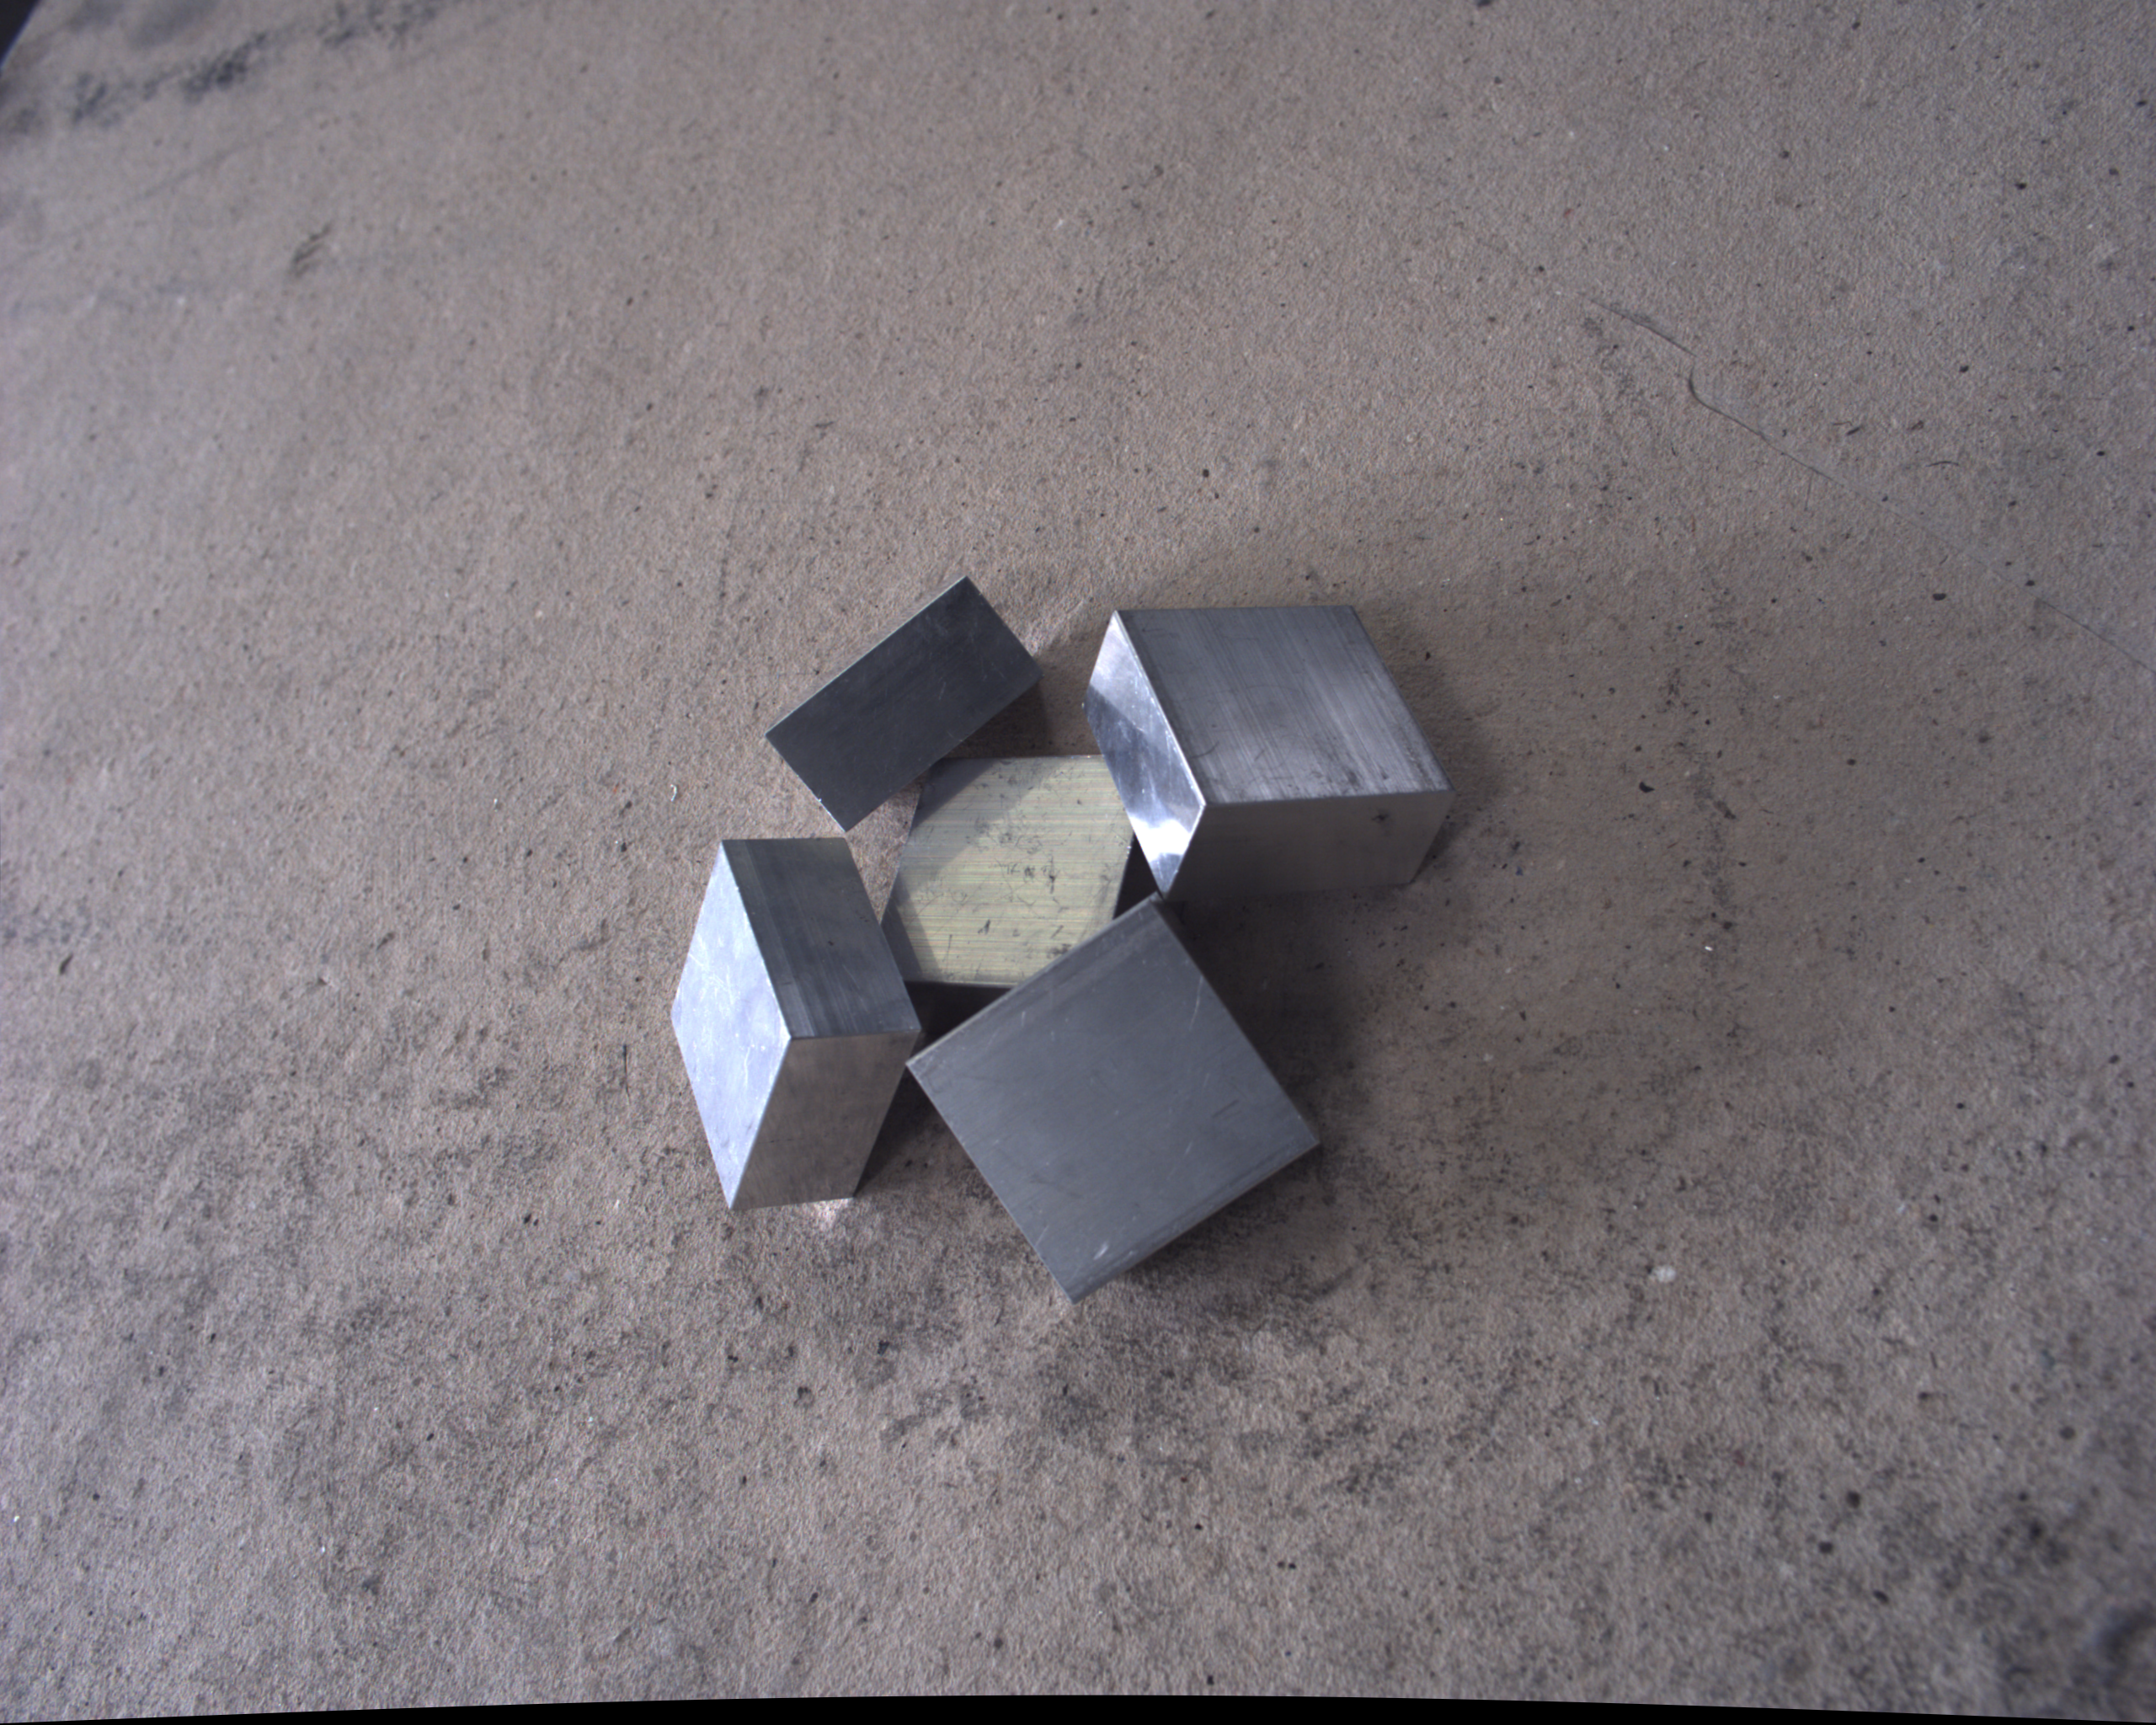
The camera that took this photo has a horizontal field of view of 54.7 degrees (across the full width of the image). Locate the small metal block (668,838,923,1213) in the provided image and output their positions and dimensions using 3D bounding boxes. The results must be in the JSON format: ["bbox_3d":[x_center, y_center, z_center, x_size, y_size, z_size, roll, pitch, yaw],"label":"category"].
[{"bbox_3d":[-0.056,0.031,0.399,0.050,0.025,0.050,64,143,38],"label":"small metal block"}]

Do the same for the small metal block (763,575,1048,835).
[{"bbox_3d":[-0.035,-0.034,0.429,0.050,0.025,0.050,-38,10,2],"label":"small metal block"}]

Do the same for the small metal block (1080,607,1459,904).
[{"bbox_3d":[0.034,-0.021,0.385,0.050,0.025,0.050,-4,50,-23],"label":"small metal block"}]

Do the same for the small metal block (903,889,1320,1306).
[{"bbox_3d":[0.007,0.040,0.362,0.050,0.025,0.050,-35,89,5],"label":"small metal block"}]

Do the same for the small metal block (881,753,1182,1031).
[{"bbox_3d":[-0.008,0.007,0.406,0.050,0.025,0.050,1,62,27],"label":"small metal block"}]
